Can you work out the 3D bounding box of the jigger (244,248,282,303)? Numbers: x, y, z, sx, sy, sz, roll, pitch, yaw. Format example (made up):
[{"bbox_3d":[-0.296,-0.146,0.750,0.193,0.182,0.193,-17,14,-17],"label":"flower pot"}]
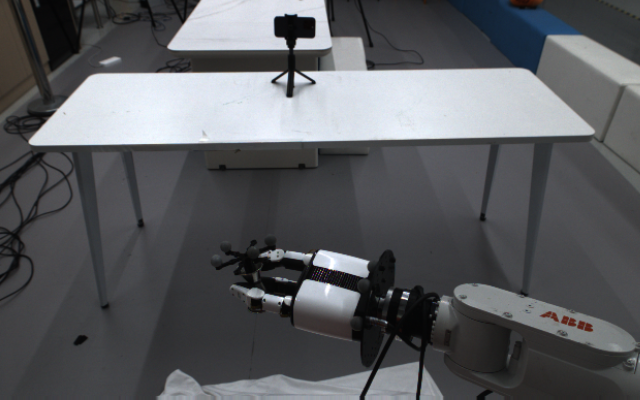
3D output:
[{"bbox_3d":[-0.093,0.126,0.711,0.043,0.071,0.043,-11,24,5],"label":"jigger"}]
